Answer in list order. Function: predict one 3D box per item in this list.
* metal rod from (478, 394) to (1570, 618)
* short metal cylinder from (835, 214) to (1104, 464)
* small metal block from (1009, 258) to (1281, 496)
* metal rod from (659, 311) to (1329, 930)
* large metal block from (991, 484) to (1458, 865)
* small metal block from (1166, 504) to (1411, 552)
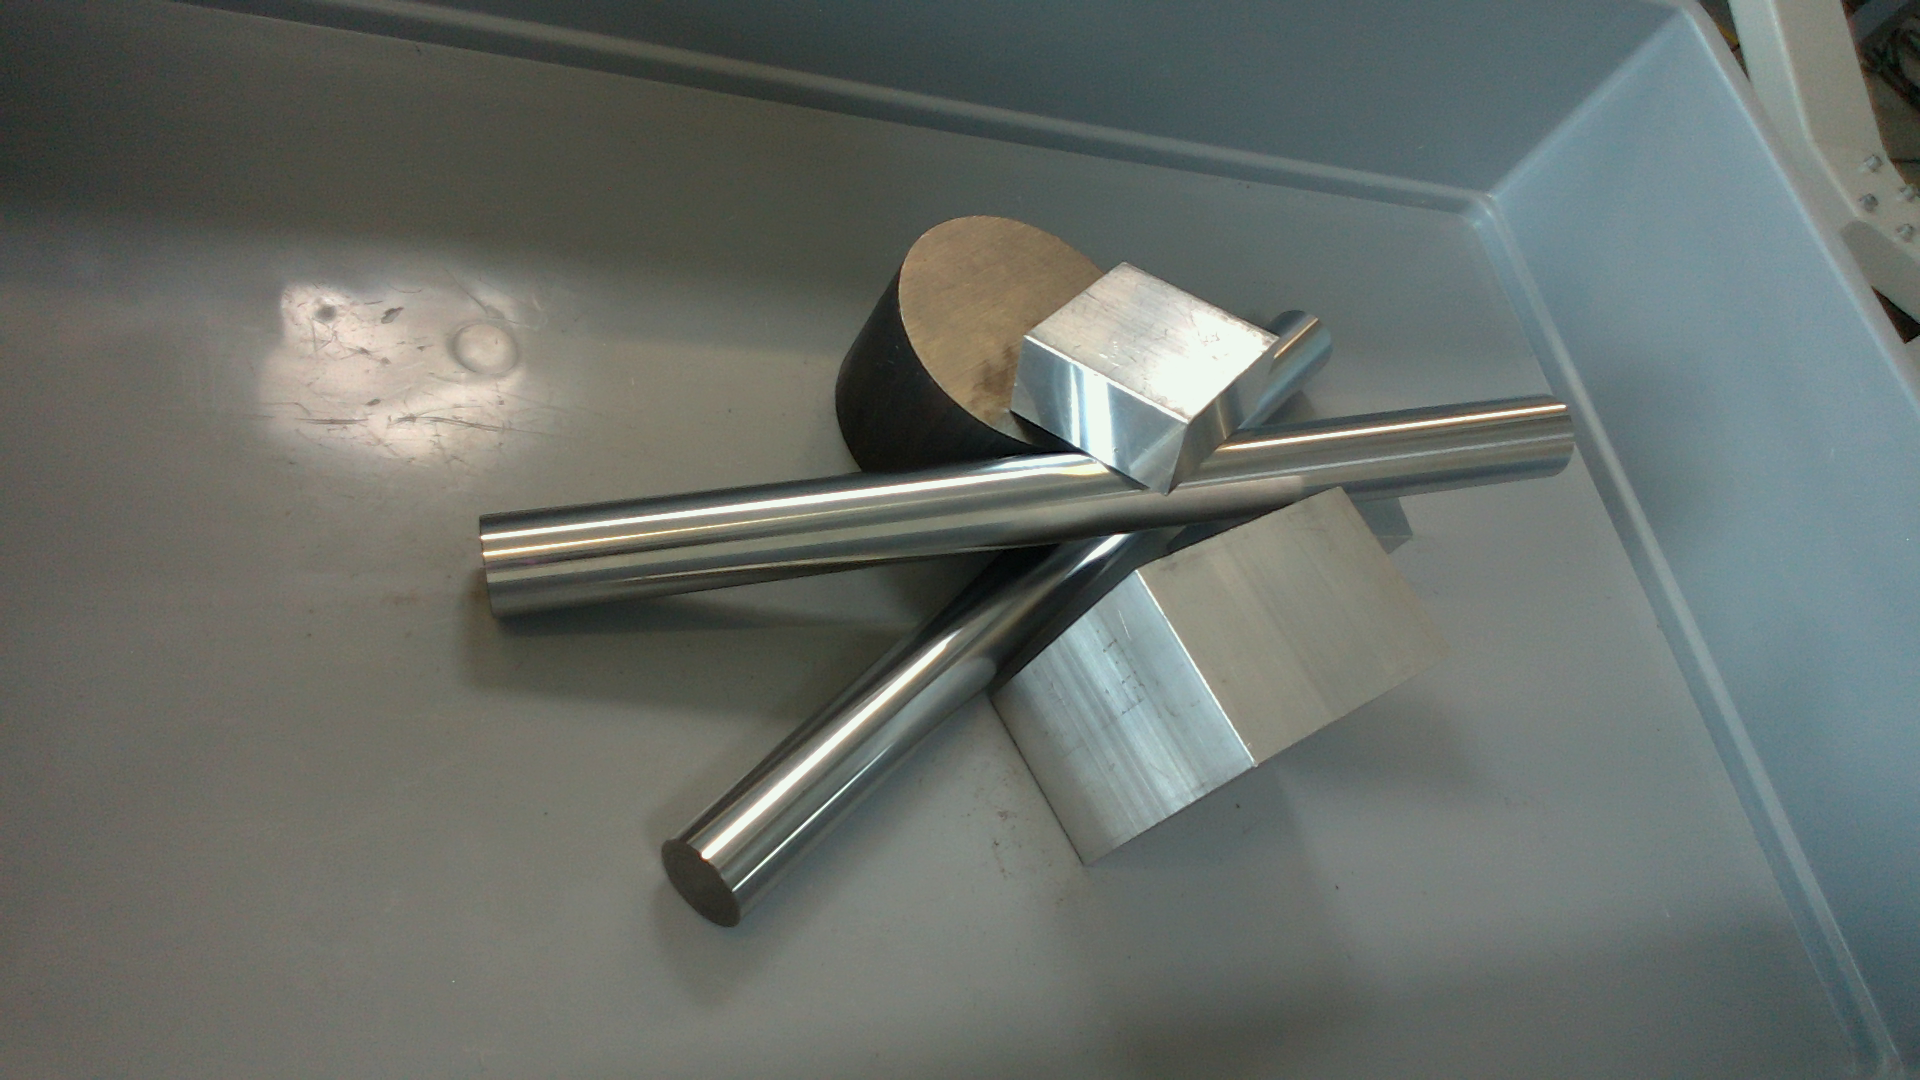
[{"bbox_3d":[0.031,-0.013,0.367,0.301,0.025,0.025,-7,65,-17],"label":"metal rod"},{"bbox_3d":[0.009,-0.049,0.407,0.080,0.050,0.080,14,55,-20],"label":"short metal cylinder"},{"bbox_3d":[0.049,-0.045,0.367,0.050,0.025,0.050,31,48,21],"label":"small metal block"},{"bbox_3d":[0.032,0.003,0.404,0.025,0.025,0.301,47,51,5],"label":"metal rod"},{"bbox_3d":[0.068,0.036,0.366,0.080,0.080,0.050,-20,72,-35],"label":"large metal block"},{"bbox_3d":[0.101,0.000,0.427,0.050,0.050,0.025,0,61,-27],"label":"small metal block"}]
